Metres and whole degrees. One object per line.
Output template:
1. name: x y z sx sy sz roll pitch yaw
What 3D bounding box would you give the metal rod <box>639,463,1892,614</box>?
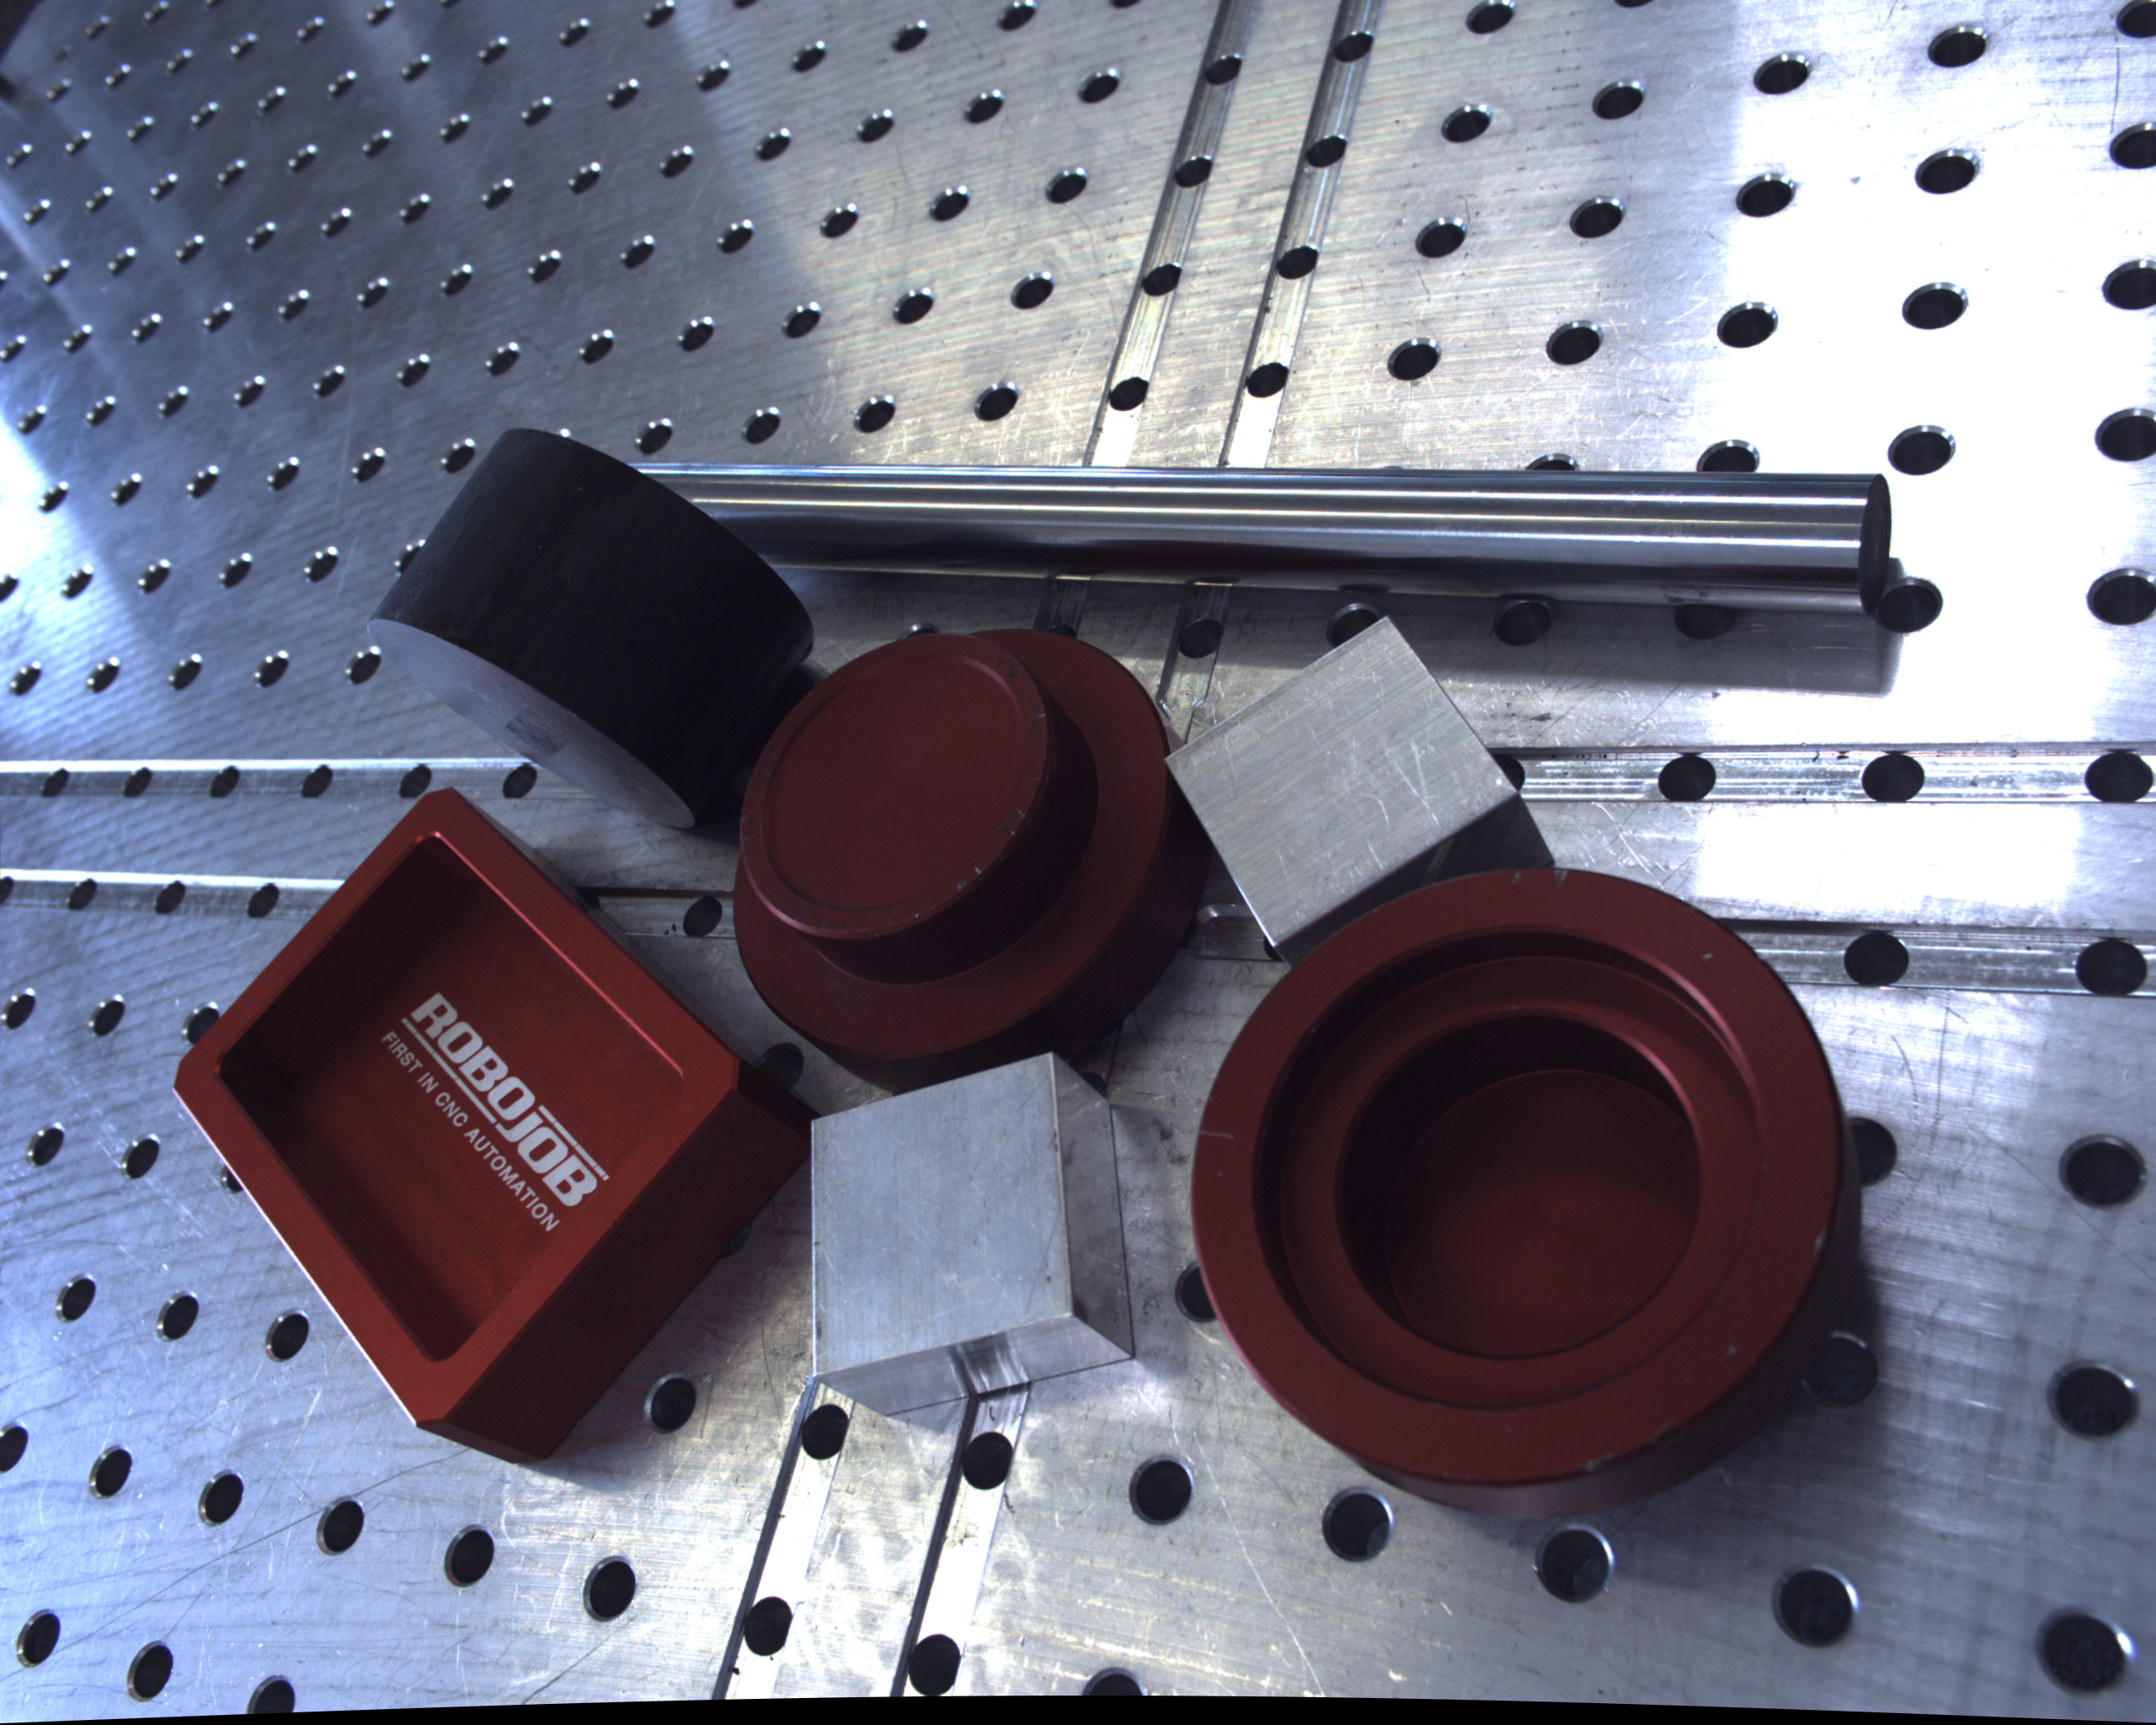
1. metal rod: 0.013 -0.072 0.445 0.300 0.025 0.025 7 65 31

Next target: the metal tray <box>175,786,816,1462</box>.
1. metal tray: -0.126 0.050 0.440 0.090 0.030 0.130 -50 51 -7

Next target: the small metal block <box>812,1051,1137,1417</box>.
1. small metal block: -0.020 0.068 0.377 0.050 0.025 0.050 -18 55 18

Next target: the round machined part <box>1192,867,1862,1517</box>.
1. round machined part: 0.071 0.053 0.327 0.098 0.042 0.098 -13 56 21

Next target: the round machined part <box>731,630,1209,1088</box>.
1. round machined part: -0.027 -0.007 0.415 0.098 0.042 0.098 -14 53 19

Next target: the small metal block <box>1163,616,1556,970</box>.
1. small metal block: 0.051 -0.010 0.388 0.050 0.025 0.050 -33 51 6

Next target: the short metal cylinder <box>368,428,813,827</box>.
1. short metal cylinder: -0.106 -0.050 0.460 0.080 0.080 0.050 19 72 35
